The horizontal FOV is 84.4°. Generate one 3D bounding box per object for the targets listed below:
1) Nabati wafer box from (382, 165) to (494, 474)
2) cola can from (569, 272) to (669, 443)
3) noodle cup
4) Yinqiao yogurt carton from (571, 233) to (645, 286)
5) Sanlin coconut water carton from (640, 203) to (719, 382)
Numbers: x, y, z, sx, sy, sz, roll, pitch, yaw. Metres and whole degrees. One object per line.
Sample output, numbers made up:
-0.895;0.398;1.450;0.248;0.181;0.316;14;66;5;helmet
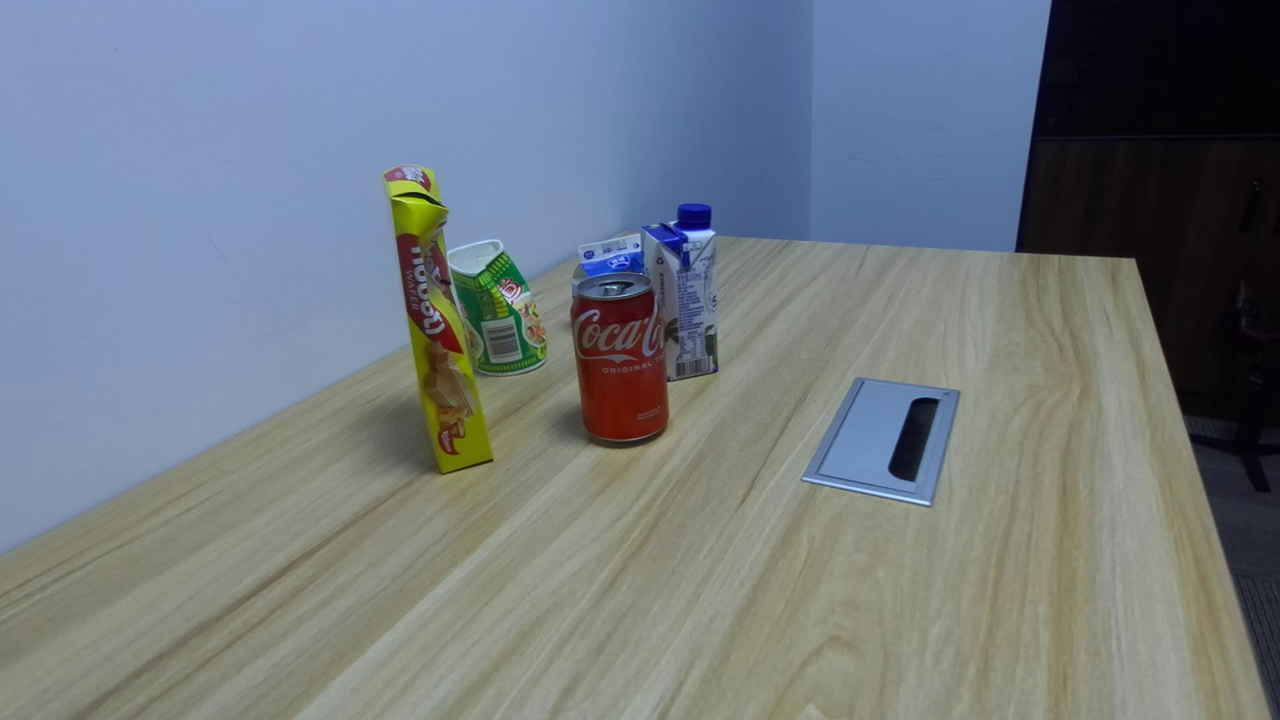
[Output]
-0.144;-0.028;0.503;0.042;0.204;0.106;-12;25;-18;Nabati wafer box
-0.014;-0.002;0.520;0.068;0.120;0.068;-3;24;2;cola can
-0.130;-0.049;0.659;0.075;0.122;0.083;4;35;38;noodle cup
-0.025;-0.075;0.714;0.077;0.094;0.071;-13;22;-20;Yinqiao yogurt carton
0.035;-0.058;0.604;0.061;0.144;0.060;-12;26;-14;Sanlin coconut water carton
